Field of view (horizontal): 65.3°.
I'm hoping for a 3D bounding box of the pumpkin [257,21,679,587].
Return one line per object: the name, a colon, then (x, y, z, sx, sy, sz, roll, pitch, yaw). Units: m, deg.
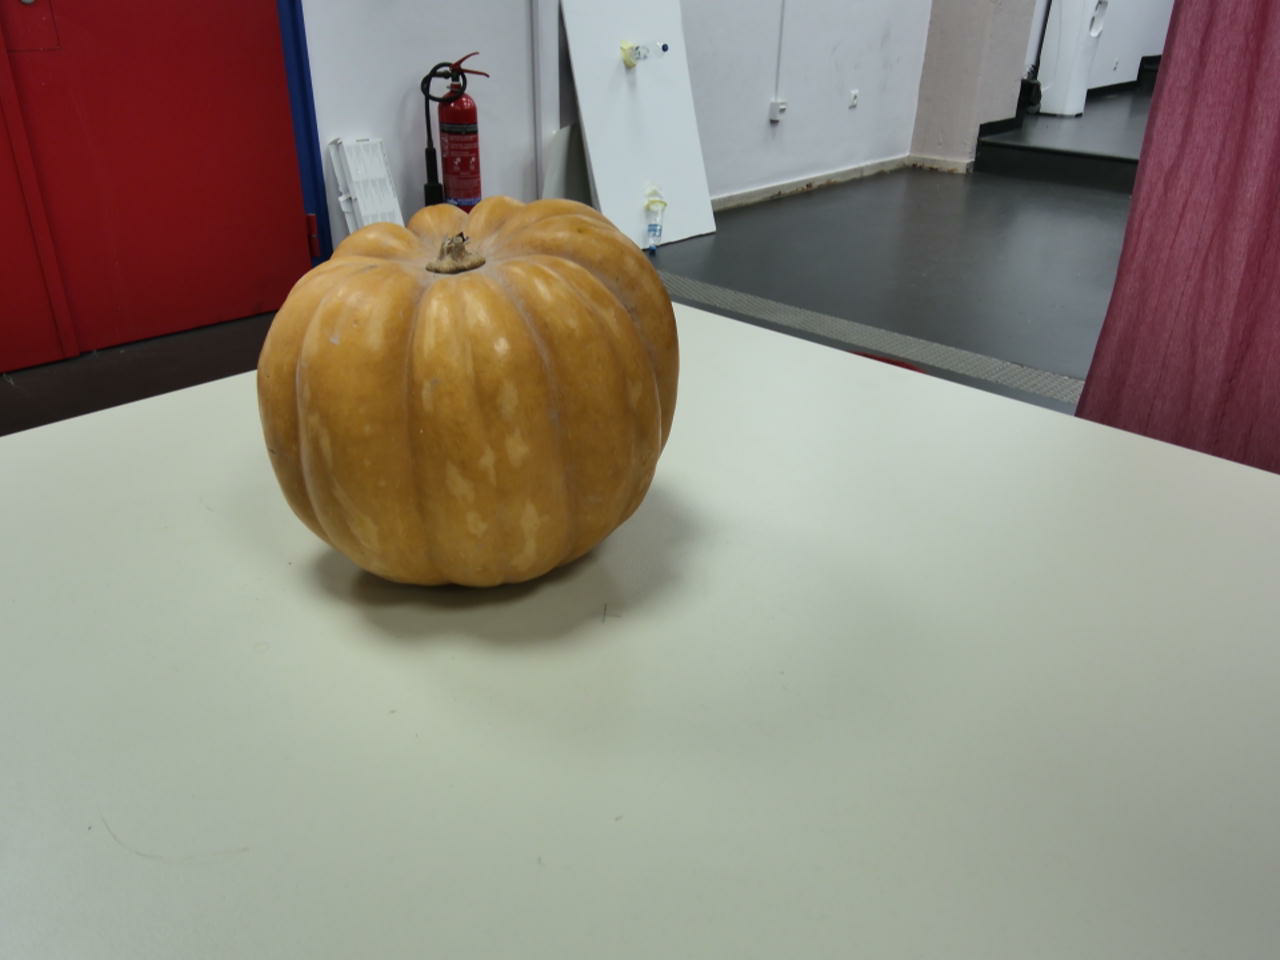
pumpkin: (-0.088, -0.048, 0.546, 0.230, 0.194, 0.230, 0, 26, 0)
